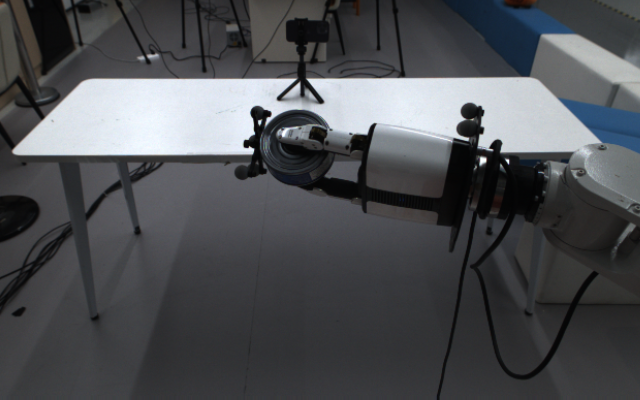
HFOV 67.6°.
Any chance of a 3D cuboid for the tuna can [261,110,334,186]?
[{"bbox_3d":[-0.022,-0.058,0.561,0.085,0.034,0.085,-2,69,6],"label":"tuna can"}]
